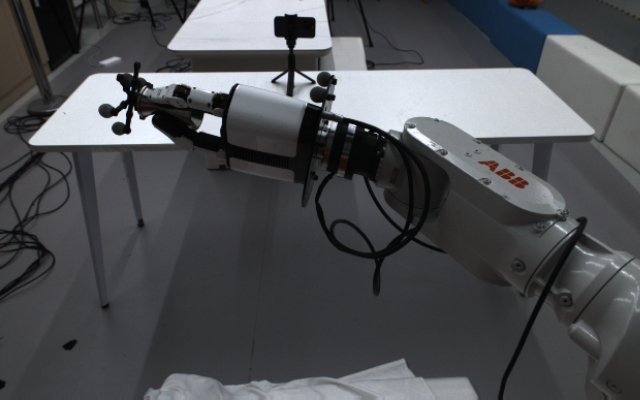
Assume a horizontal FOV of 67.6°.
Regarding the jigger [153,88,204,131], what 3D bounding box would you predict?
[{"bbox_3d":[-0.178,-0.116,0.590,0.071,0.043,0.043,13,36,4],"label":"jigger"}]
